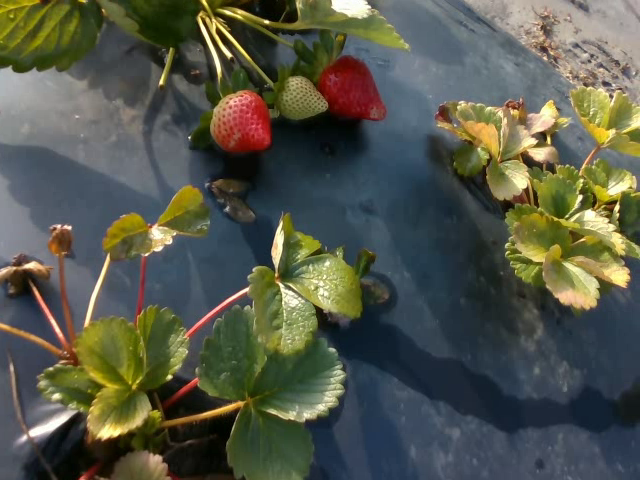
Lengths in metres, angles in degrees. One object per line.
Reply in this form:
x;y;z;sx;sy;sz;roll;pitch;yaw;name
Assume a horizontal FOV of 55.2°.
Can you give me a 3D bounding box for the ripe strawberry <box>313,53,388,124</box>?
0.027;-0.106;0.445;0.048;0.065;0.050;-42;-3;7;ripe strawberry
